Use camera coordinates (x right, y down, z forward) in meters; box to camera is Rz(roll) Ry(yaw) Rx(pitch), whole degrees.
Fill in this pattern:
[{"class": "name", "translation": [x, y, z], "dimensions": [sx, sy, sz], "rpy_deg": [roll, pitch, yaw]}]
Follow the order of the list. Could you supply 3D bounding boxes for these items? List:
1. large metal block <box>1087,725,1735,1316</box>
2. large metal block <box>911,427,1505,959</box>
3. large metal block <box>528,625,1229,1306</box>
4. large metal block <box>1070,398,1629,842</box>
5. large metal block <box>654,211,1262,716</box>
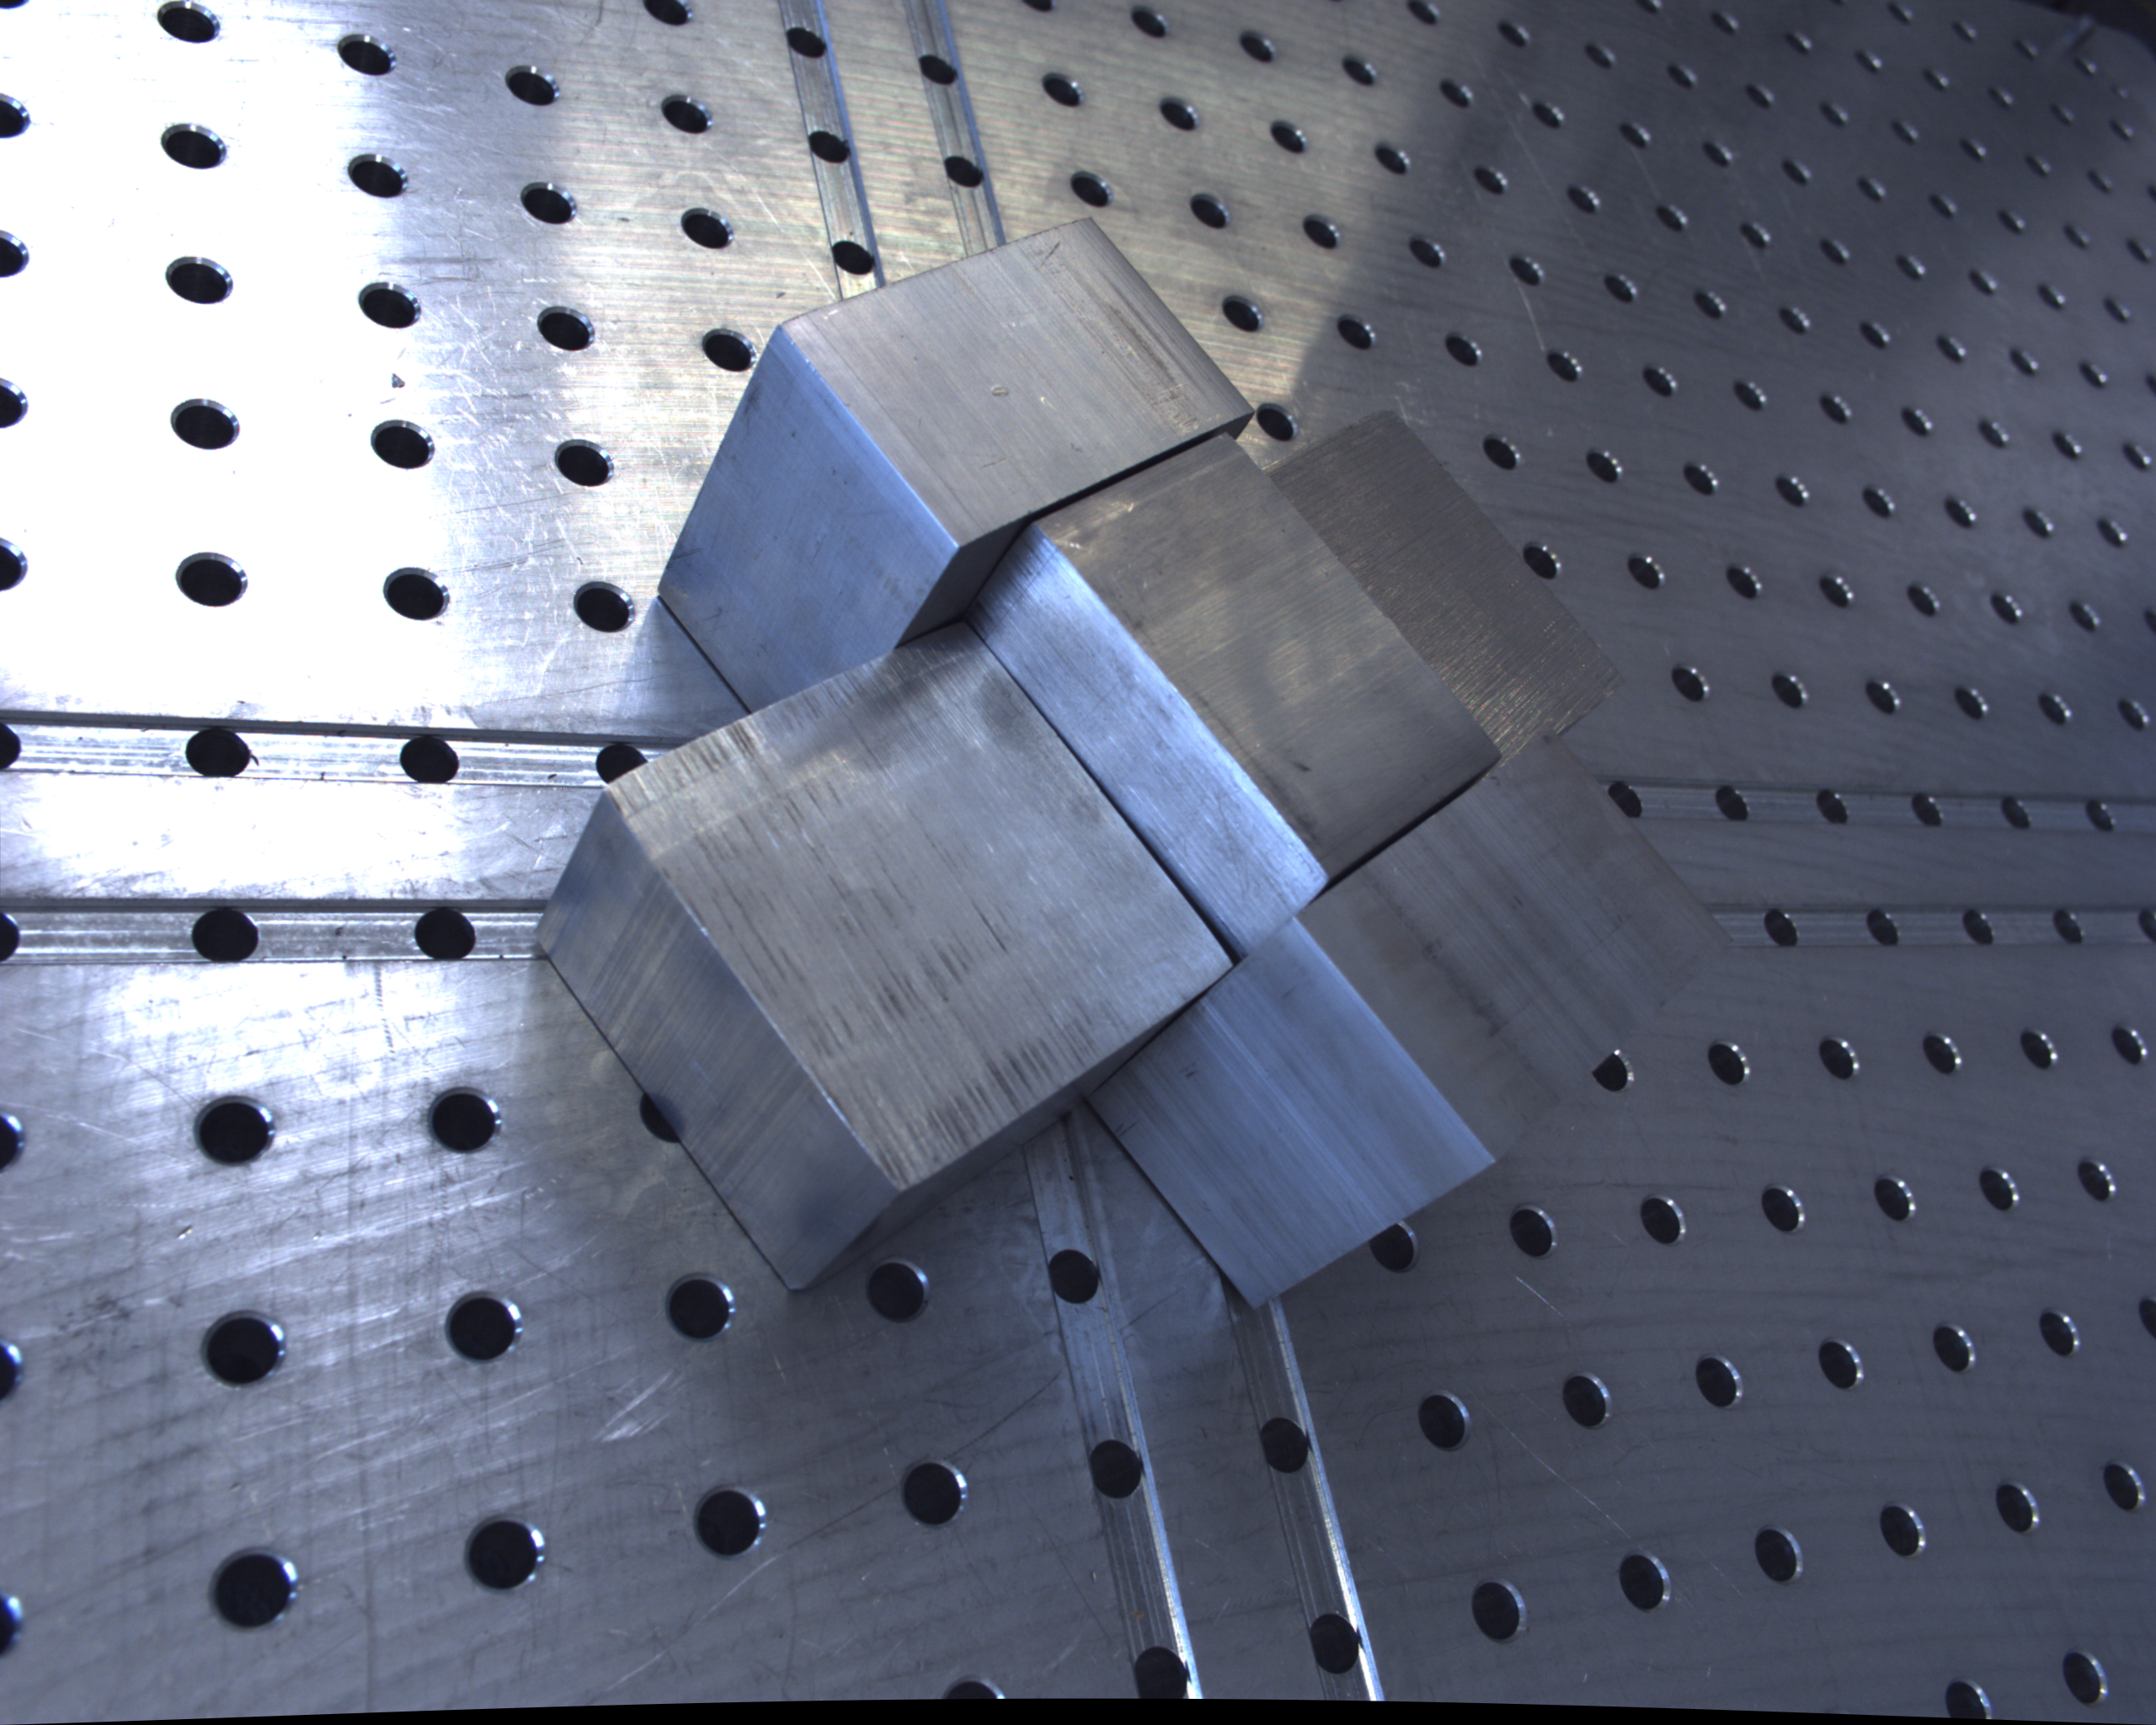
[{"class": "large metal block", "translation": [0.060, 0.029, 0.386], "dimensions": [0.081, 0.080, 0.050], "rpy_deg": [-32, 80, -39]}, {"class": "large metal block", "translation": [0.018, -0.020, 0.394], "dimensions": [0.050, 0.080, 0.080], "rpy_deg": [-33, 80, -38]}, {"class": "large metal block", "translation": [-0.034, 0.016, 0.365], "dimensions": [0.081, 0.050, 0.080], "rpy_deg": [-30, 78, -38]}, {"class": "large metal block", "translation": [0.056, -0.042, 0.446], "dimensions": [0.081, 0.050, 0.080], "rpy_deg": [-33, 82, -38]}, {"class": "large metal block", "translation": [-0.024, -0.069, 0.401], "dimensions": [0.081, 0.080, 0.050], "rpy_deg": [-32, 79, -38]}]
